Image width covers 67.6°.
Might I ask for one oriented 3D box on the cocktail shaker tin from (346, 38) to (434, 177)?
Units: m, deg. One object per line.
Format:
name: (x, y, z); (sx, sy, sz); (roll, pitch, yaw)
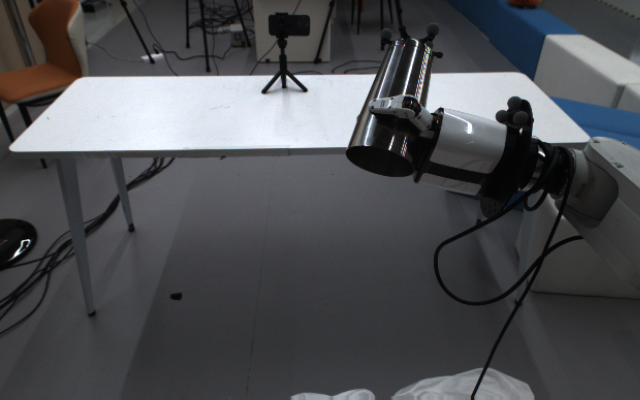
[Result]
cocktail shaker tin: (0.102, -0.127, 0.651); (0.093, 0.093, 0.170); (13, 73, 15)
